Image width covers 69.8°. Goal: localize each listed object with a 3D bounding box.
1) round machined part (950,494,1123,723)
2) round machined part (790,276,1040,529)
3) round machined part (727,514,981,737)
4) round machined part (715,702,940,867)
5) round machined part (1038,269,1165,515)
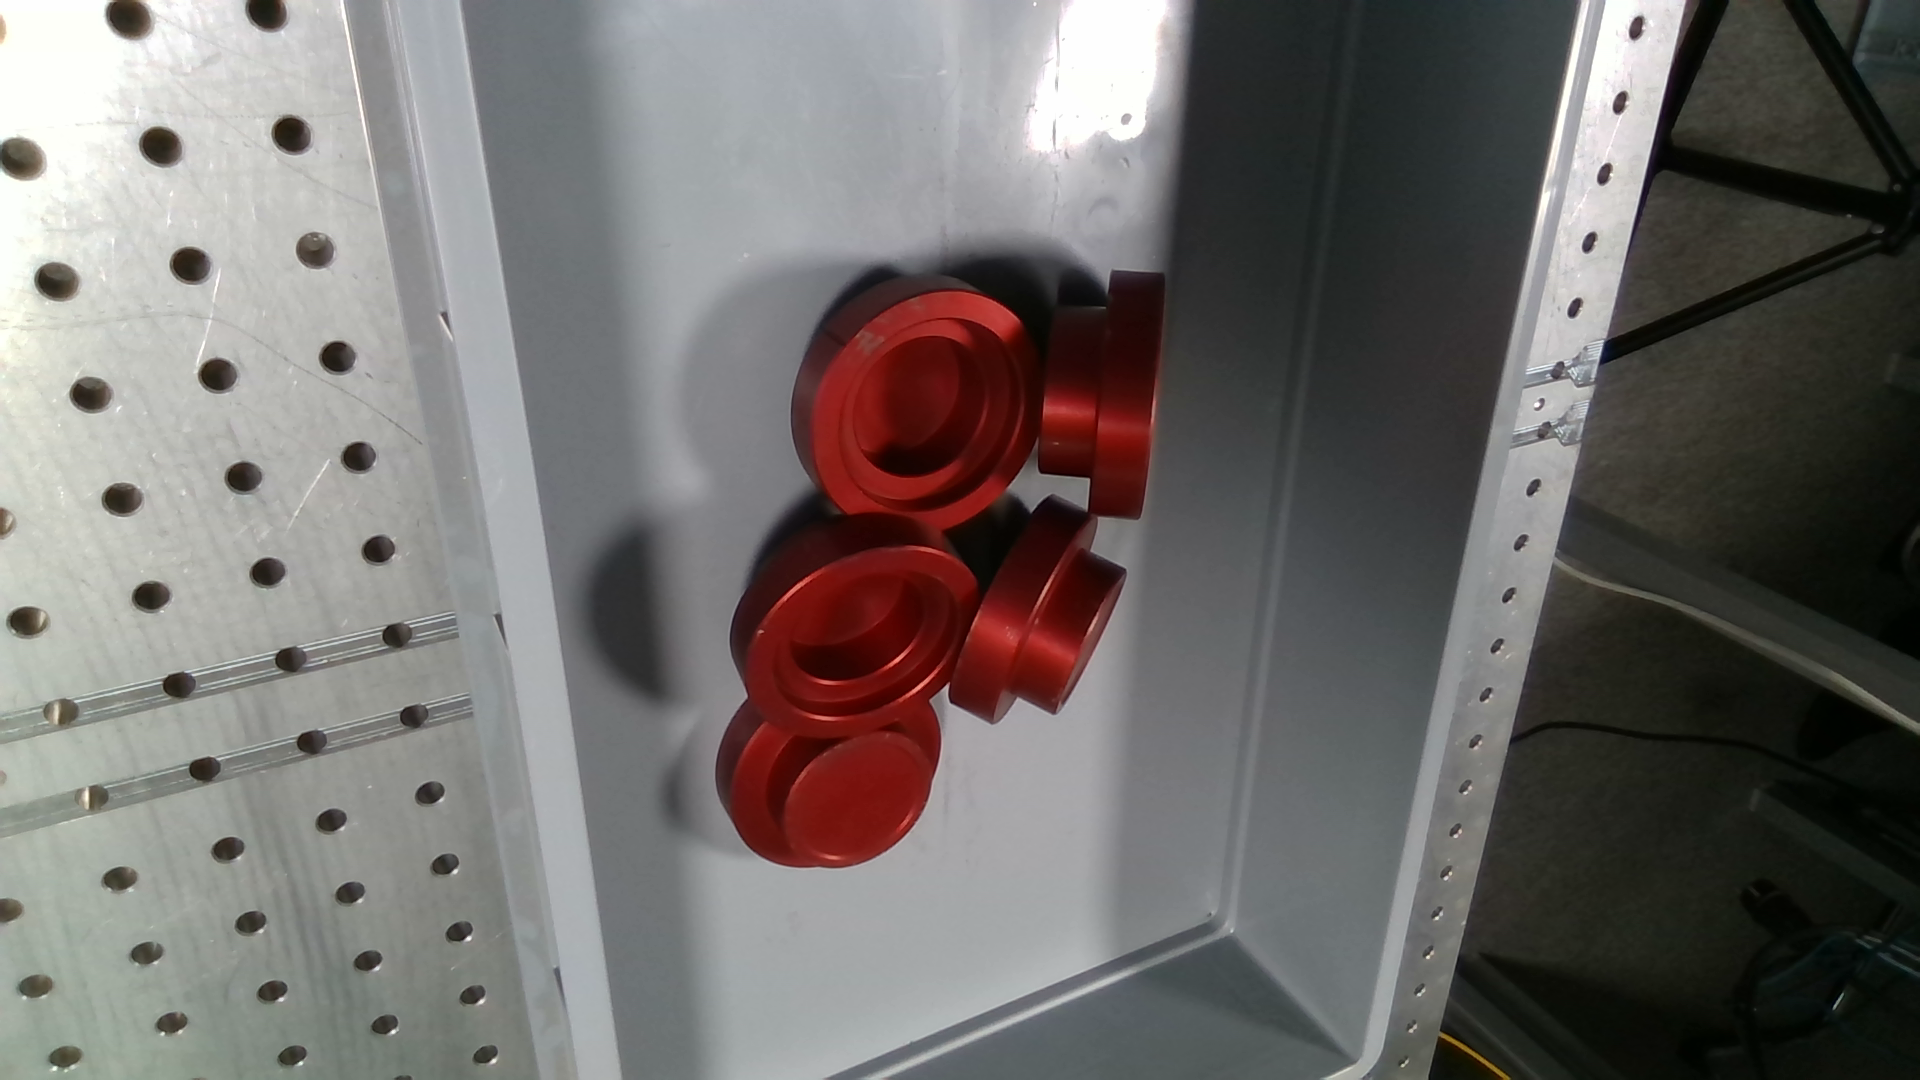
[{"bbox_3d":[0.036,0.033,0.573,0.098,0.042,0.098,-60,168,-21],"label":"round machined part"},{"bbox_3d":[-0.020,-0.054,0.526,0.098,0.042,0.098,-14,122,-25],"label":"round machined part"},{"bbox_3d":[-0.044,0.029,0.542,0.098,0.042,0.098,-15,134,-16],"label":"round machined part"},{"bbox_3d":[-0.051,0.100,0.590,0.098,0.042,0.098,-14,122,-25],"label":"round machined part"},{"bbox_3d":[0.055,-0.059,0.547,0.042,0.098,0.098,5,117,5],"label":"round machined part"}]
